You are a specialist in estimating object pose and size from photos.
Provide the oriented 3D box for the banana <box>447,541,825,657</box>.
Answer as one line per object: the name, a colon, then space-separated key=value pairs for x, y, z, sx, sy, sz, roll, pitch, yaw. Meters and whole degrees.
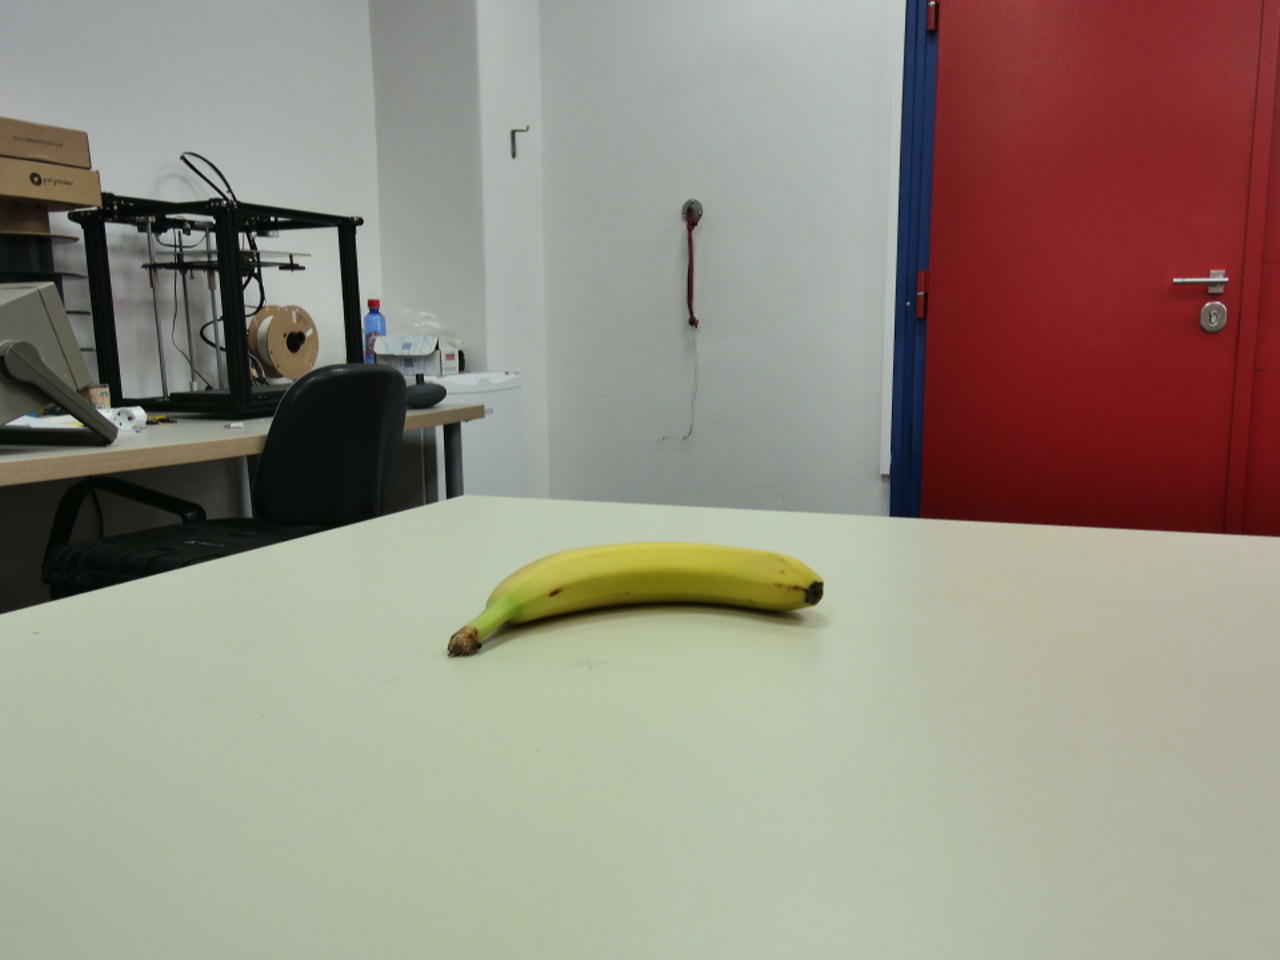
banana: x=-0.006 y=0.058 z=0.543 sx=0.196 sy=0.041 sz=0.094 roll=-1 pitch=6 yaw=-12
